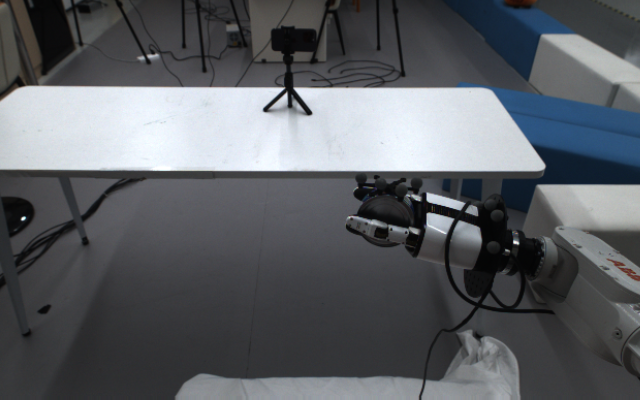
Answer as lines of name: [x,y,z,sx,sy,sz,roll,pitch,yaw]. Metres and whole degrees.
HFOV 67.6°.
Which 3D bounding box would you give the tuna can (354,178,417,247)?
tuna can: [0.099,0.024,0.722,0.085,0.085,0.034,9,24,10]
